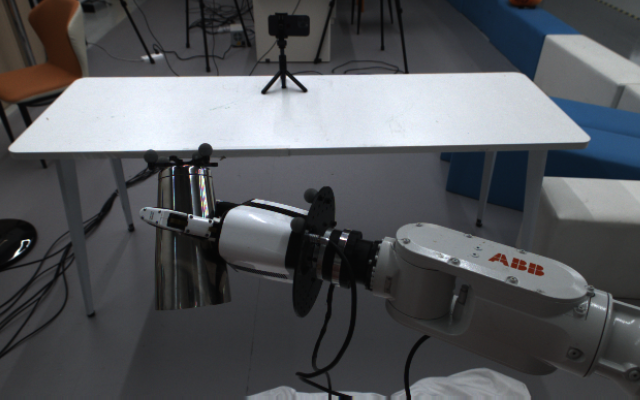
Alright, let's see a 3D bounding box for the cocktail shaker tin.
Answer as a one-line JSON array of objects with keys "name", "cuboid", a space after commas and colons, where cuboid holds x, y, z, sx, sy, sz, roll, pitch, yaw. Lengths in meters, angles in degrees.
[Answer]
[{"name": "cocktail shaker tin", "cuboid": [-0.164, 0.047, 0.608, 0.093, 0.170, 0.093, -7, -7, -1]}]
